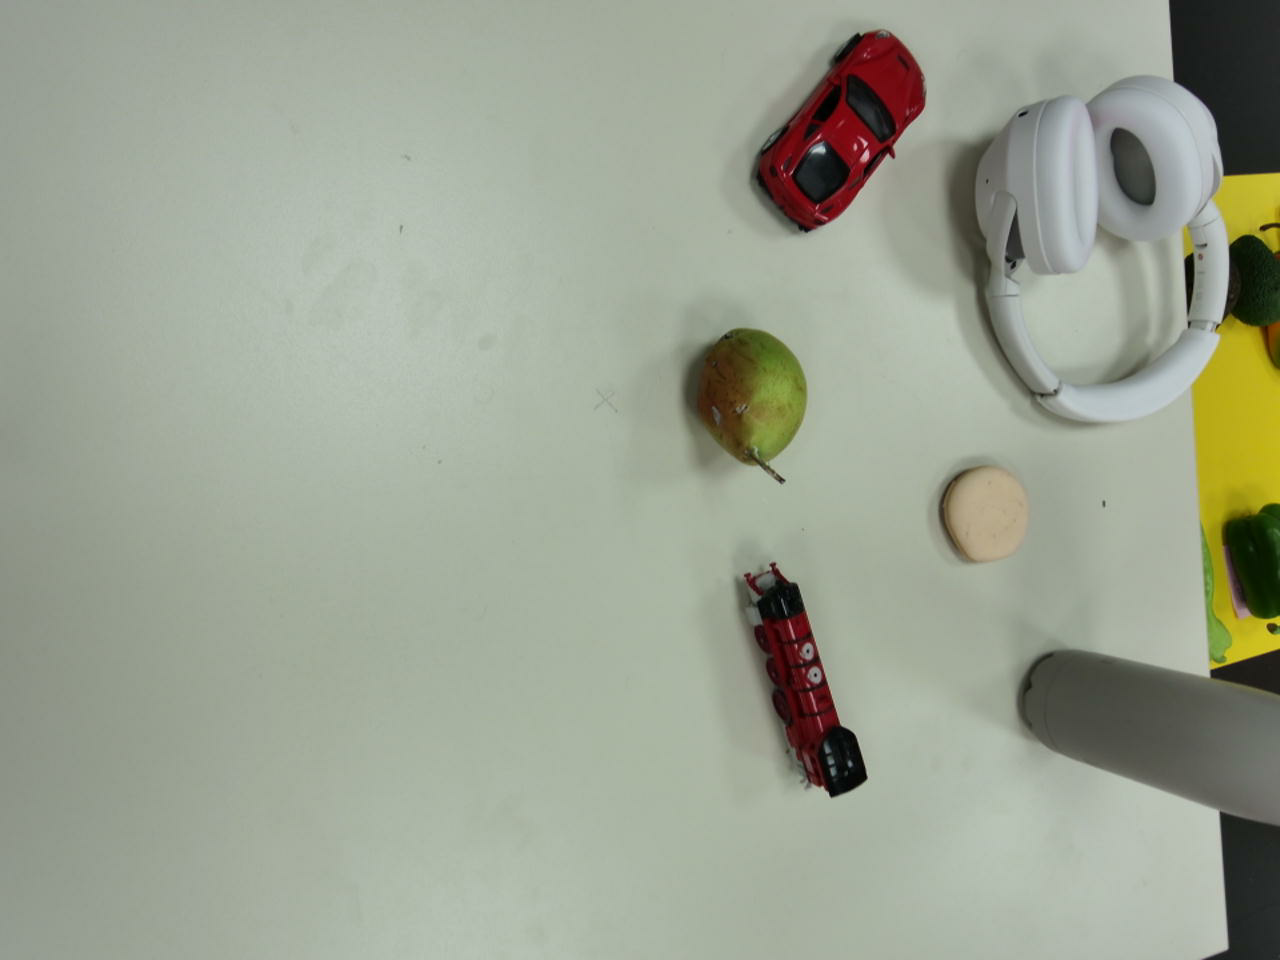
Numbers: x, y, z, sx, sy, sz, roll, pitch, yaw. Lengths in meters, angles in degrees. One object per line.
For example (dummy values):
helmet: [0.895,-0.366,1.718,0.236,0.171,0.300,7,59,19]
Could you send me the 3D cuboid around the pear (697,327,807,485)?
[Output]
pear: [0.062,-0.047,0.555,0.070,0.069,0.068,-47,106,-15]
